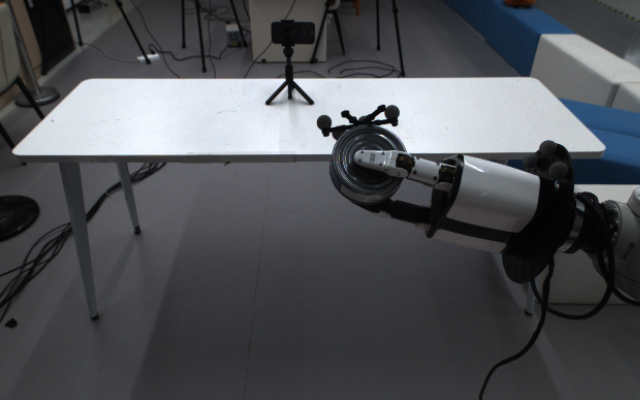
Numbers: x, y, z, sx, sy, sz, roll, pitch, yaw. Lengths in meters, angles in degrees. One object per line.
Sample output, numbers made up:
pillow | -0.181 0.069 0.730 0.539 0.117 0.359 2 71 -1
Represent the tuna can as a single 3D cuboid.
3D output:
tuna can | 0.057 -0.042 0.542 0.085 0.034 0.085 0 72 -1
